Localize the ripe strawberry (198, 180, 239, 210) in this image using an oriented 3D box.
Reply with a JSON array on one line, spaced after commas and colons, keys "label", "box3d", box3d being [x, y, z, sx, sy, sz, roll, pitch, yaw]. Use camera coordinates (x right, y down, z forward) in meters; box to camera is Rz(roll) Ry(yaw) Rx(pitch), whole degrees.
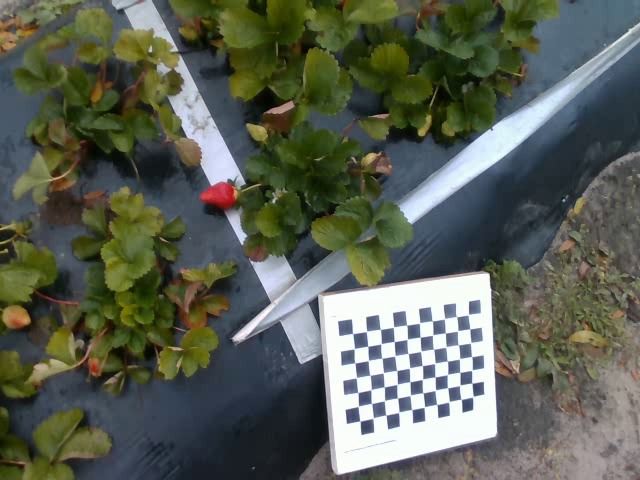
[{"label": "ripe strawberry", "box3d": [-0.136, -0.057, 0.844, 0.051, 0.041, 0.038, -11, 13, -22]}]
